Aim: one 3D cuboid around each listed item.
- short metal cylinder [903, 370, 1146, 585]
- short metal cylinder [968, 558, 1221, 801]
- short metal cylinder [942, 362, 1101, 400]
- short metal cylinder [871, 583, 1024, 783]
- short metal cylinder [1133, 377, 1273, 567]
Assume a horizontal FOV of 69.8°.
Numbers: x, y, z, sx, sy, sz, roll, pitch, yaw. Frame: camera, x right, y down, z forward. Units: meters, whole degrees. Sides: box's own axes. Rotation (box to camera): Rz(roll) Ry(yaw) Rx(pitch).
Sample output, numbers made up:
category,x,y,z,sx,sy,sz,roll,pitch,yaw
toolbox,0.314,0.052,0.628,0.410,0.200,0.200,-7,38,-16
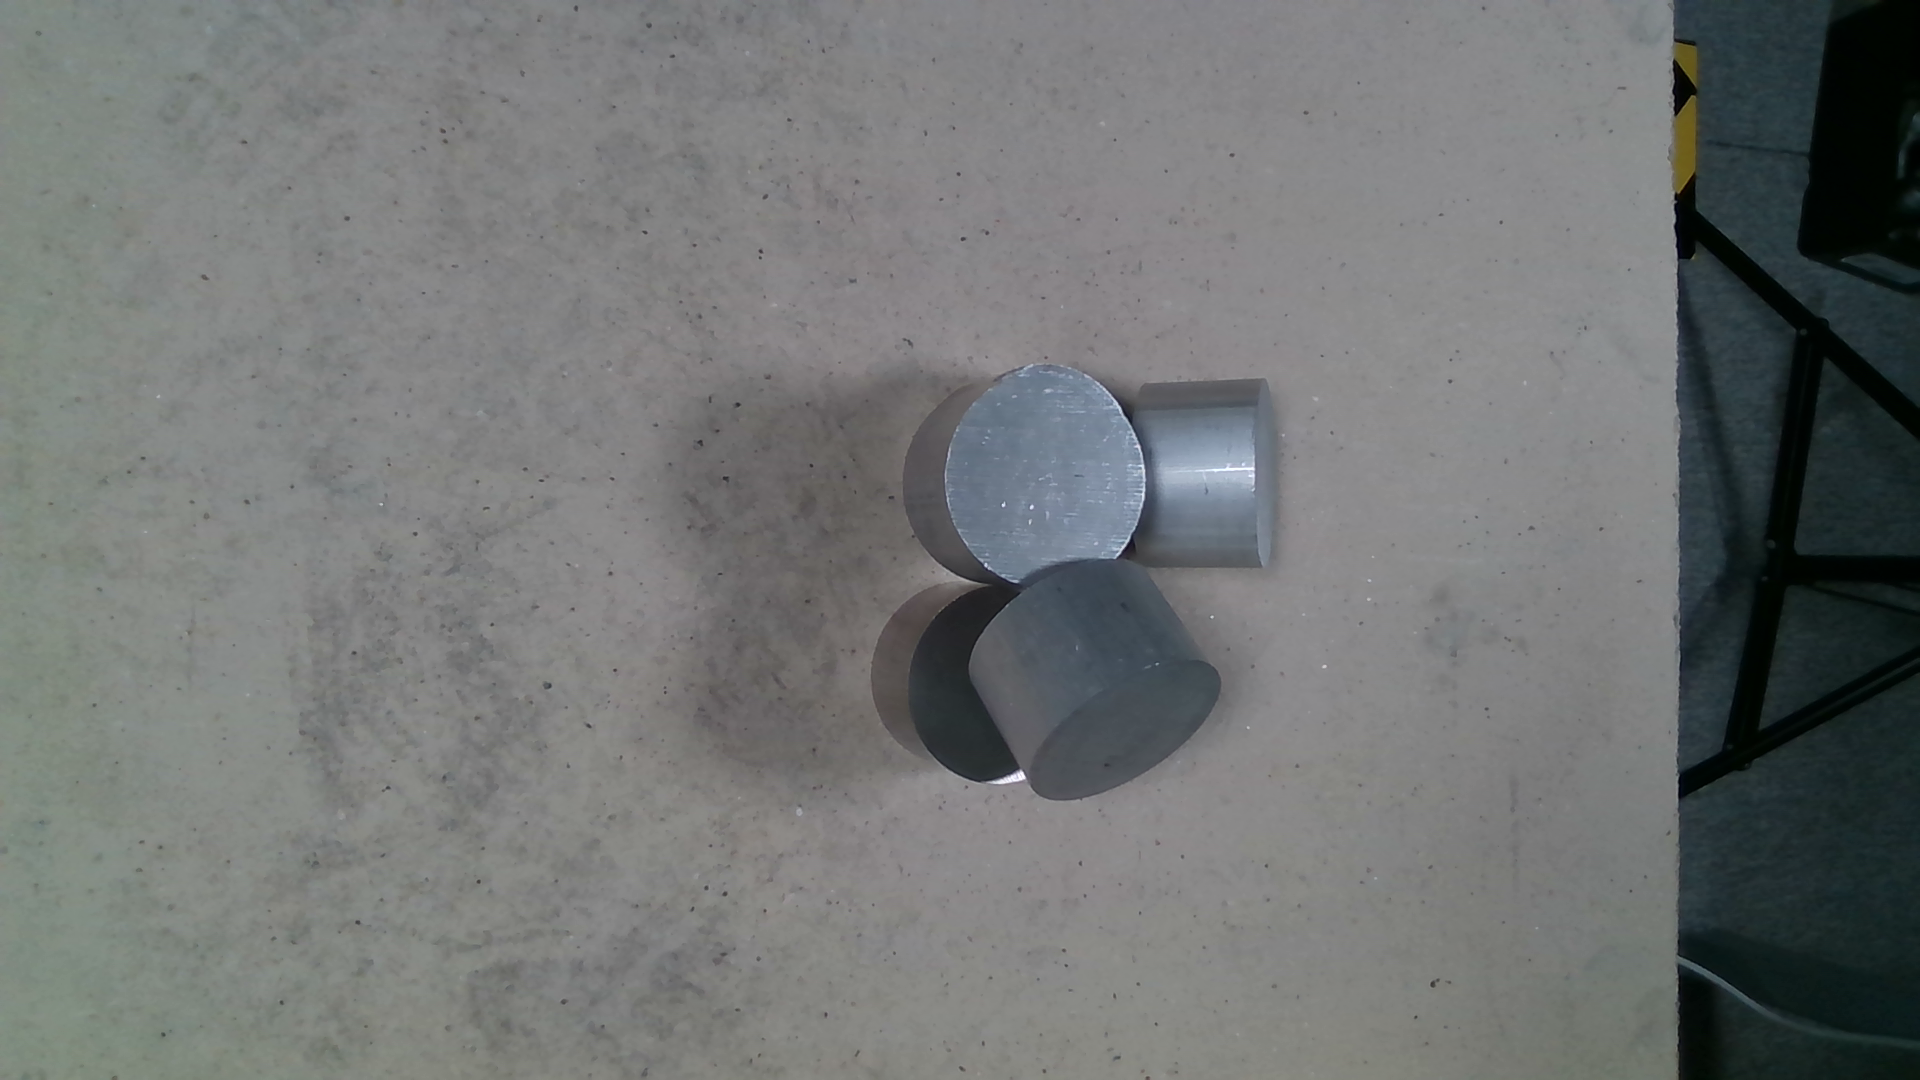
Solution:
category,x,y,z,sx,sy,sz,roll,pitch,yaw
short metal cylinder,0.024,-0.022,0.528,0.080,0.050,0.080,0,90,-20
short metal cylinder,0.050,0.053,0.514,0.080,0.080,0.050,-18,53,-19
short metal cylinder,0.027,-0.032,0.582,0.080,0.050,0.080,0,90,-20
short metal cylinder,0.008,0.058,0.575,0.080,0.050,0.080,0,90,-20
short metal cylinder,0.105,-0.028,0.589,0.050,0.080,0.080,0,90,18
